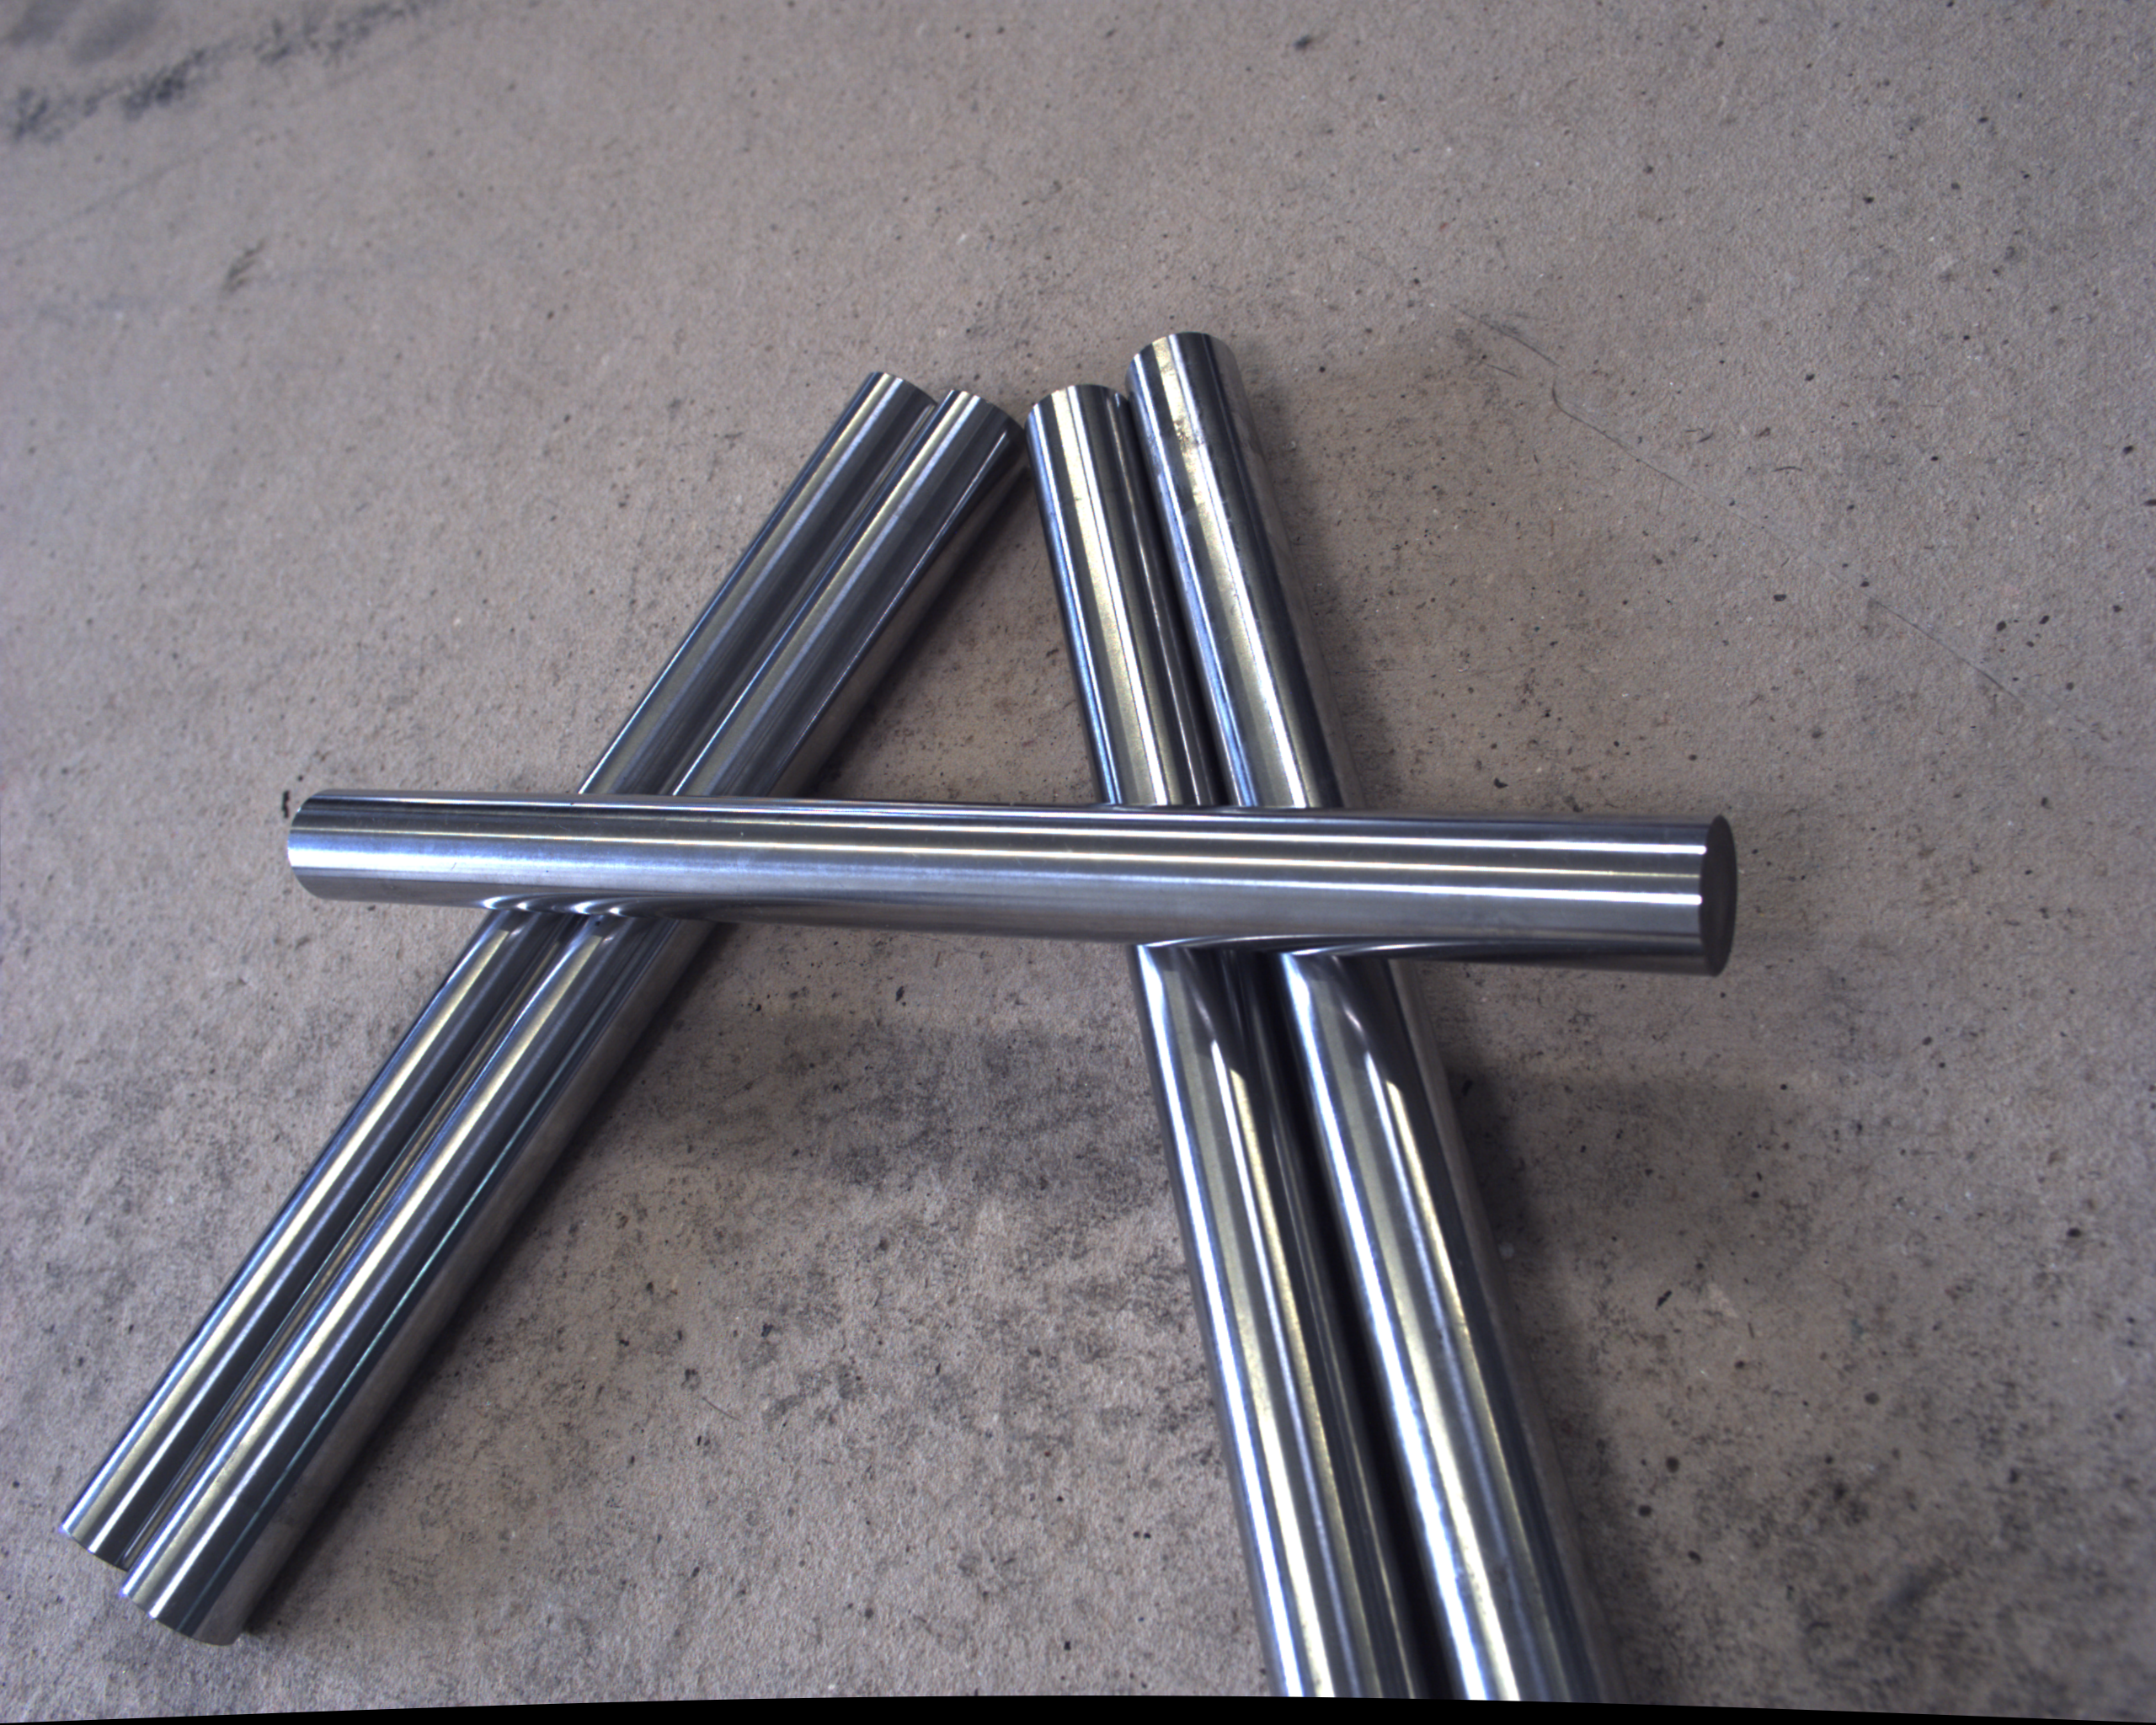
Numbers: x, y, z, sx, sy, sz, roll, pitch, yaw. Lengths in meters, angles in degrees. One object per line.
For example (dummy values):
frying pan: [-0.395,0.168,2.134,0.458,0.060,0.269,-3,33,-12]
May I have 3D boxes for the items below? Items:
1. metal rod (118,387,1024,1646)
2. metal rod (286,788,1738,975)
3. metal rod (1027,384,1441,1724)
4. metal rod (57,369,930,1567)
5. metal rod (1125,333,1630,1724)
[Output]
metal rod: [-0.099,0.023,0.443,0.025,0.025,0.300,22,73,36]
metal rod: [-0.034,0.000,0.391,0.300,0.025,0.025,2,63,29]
metal rod: [0.023,0.023,0.380,0.025,0.025,0.299,-22,54,15]
metal rod: [-0.117,0.015,0.457,0.025,0.025,0.300,22,73,36]
metal rod: [0.045,0.014,0.374,0.025,0.025,0.299,-22,54,15]
